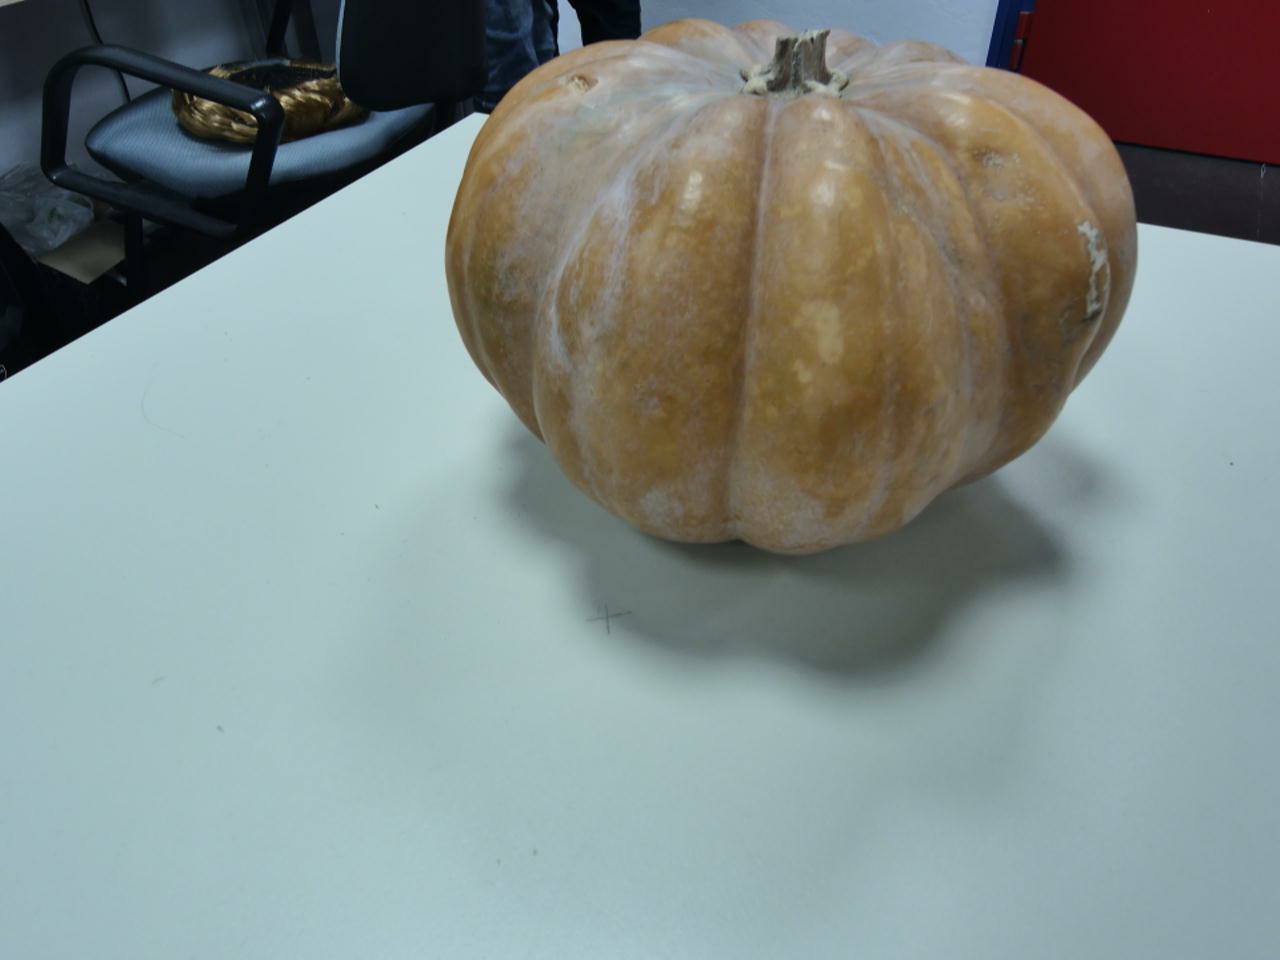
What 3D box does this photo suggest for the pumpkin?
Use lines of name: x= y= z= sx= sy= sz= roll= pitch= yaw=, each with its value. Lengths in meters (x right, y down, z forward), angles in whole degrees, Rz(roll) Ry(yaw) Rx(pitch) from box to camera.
pumpkin: x=0.053 y=-0.088 z=0.413 sx=0.277 sy=0.181 sz=0.277 roll=0 pitch=38 yaw=0
